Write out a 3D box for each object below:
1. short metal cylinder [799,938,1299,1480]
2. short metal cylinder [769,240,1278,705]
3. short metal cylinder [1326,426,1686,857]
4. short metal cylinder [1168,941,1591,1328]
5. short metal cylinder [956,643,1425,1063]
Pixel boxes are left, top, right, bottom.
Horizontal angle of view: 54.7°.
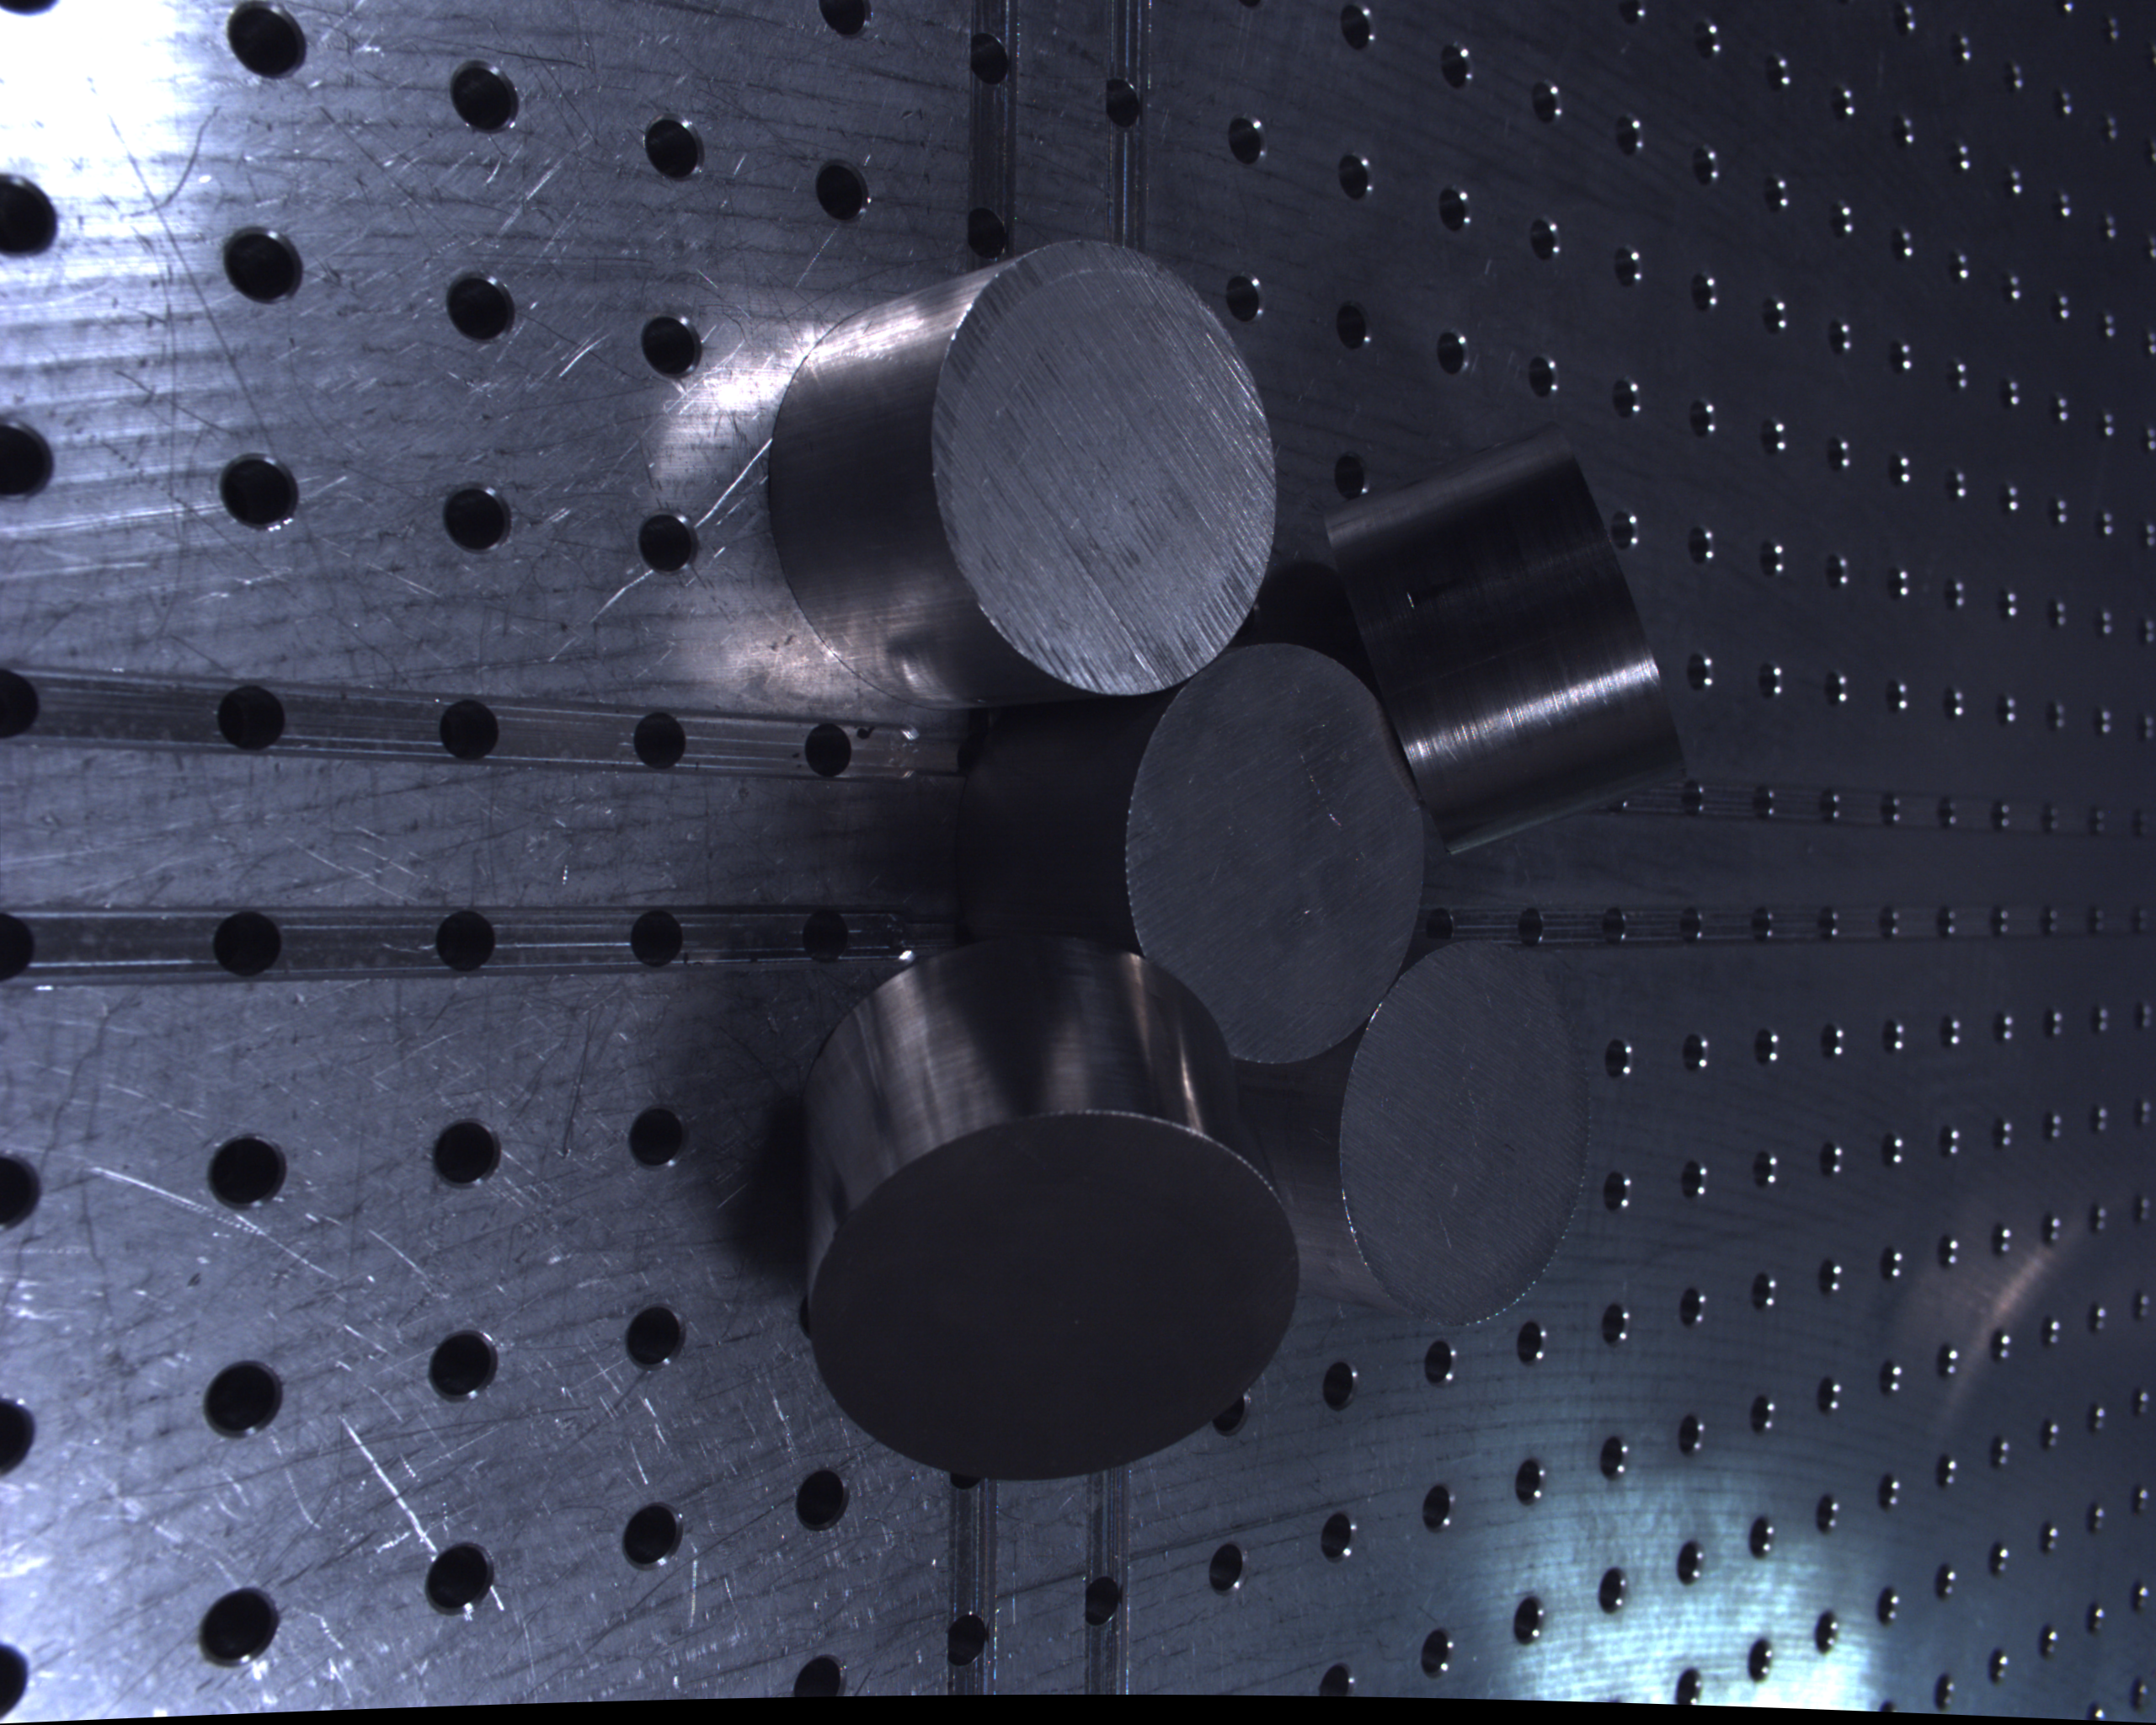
[{"bbox_3d":[-0.007,0.060,0.362,0.081,0.050,0.079,-5,121,-7],"label":"short metal cylinder"},{"bbox_3d":[-0.009,-0.069,0.386,0.081,0.050,0.079,0,90,-40],"label":"short metal cylinder"},{"bbox_3d":[0.091,-0.047,0.445,0.080,0.050,0.080,-21,90,-78],"label":"short metal cylinder"},{"bbox_3d":[0.065,0.056,0.450,0.081,0.050,0.079,0,90,-40],"label":"short metal cylinder"},{"bbox_3d":[0.023,-0.002,0.414,0.081,0.050,0.079,0,90,-40],"label":"short metal cylinder"}]
